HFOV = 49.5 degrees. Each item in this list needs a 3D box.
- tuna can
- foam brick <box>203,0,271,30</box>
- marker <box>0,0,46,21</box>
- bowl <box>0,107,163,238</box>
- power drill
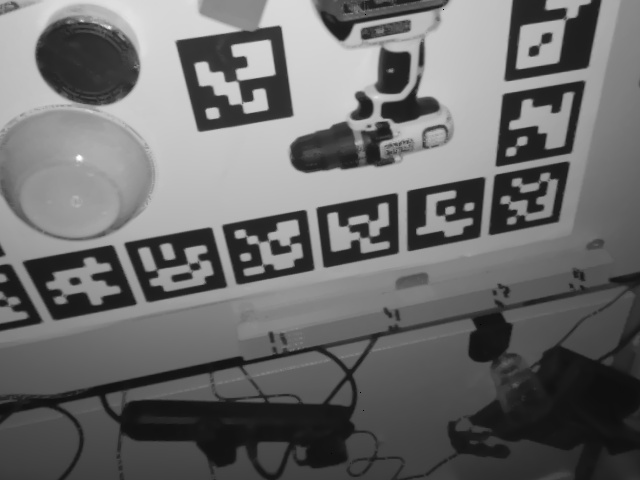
[{"bbox_3d":[-0.203,-0.160,0.621,0.086,0.034,0.085,-6,130,-6],"label":"tuna can"},{"bbox_3d":[-0.066,-0.230,0.595,0.052,0.053,0.077,10,125,-19],"label":"foam brick"},{"bbox_3d":[-0.293,-0.187,0.584,0.121,0.020,0.019,-18,129,1],"label":"marker"},{"bbox_3d":[-0.240,-0.053,0.699,0.163,0.055,0.160,-11,137,-9],"label":"bowl"},{"bbox_3d":[0.058,-0.164,0.675,0.185,0.057,0.185,-10,133,-2],"label":"power drill"}]
